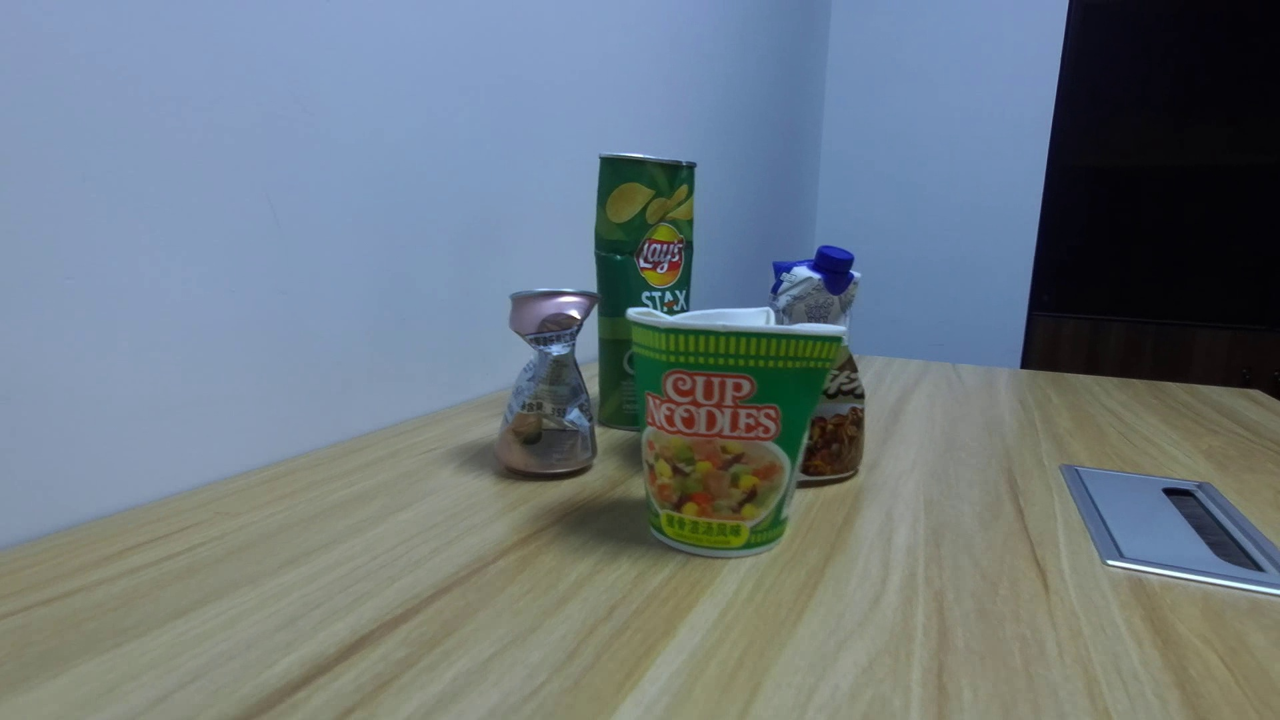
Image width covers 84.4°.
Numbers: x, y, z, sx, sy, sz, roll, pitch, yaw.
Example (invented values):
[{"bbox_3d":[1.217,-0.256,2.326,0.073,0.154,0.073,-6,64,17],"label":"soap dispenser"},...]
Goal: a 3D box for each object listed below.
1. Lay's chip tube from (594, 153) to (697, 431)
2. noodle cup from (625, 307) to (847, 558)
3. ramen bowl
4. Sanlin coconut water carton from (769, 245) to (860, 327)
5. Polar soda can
[{"bbox_3d":[0.005,-0.049,0.537,0.069,0.199,0.075,2,8,6],"label":"Lay's chip tube"},{"bbox_3d":[0.038,0.032,0.345,0.075,0.122,0.082,-12,25,-29],"label":"noodle cup"},{"bbox_3d":[0.081,0.019,0.460,0.137,0.098,0.137,2,8,0],"label":"ramen bowl"},{"bbox_3d":[0.134,-0.019,0.559,0.078,0.142,0.057,-3,16,-31],"label":"Sanlin coconut water carton"},{"bbox_3d":[-0.055,0.012,0.438,0.074,0.114,0.070,14,10,35],"label":"Polar soda can"}]
